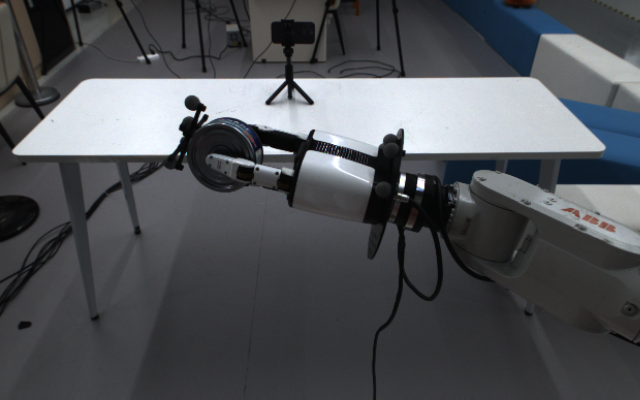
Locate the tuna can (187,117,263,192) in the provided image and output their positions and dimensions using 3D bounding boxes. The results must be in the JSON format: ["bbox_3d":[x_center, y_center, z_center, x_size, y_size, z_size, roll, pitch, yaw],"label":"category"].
[{"bbox_3d":[-0.111,-0.054,0.577,0.085,0.085,0.034,6,20,5],"label":"tuna can"}]
